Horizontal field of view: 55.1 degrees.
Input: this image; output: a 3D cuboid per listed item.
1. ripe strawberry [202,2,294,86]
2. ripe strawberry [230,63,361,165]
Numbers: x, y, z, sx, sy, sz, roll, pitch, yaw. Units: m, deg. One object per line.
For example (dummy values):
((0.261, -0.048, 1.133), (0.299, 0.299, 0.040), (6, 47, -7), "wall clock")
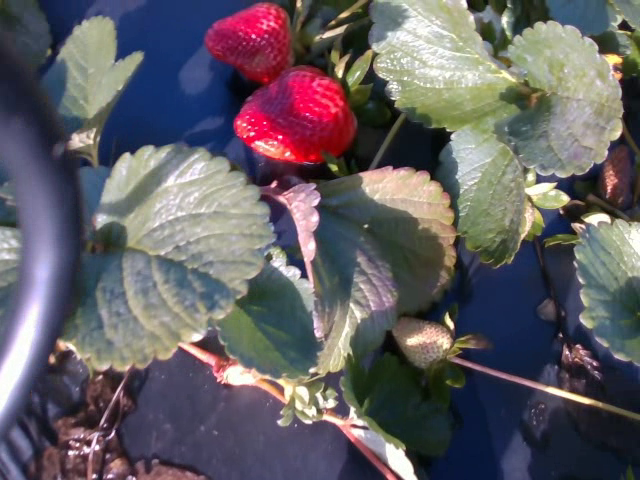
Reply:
((-0.036, -0.097, 0.288), (0.051, 0.037, 0.043), (-29, 33, -31), "ripe strawberry")
((-0.013, -0.053, 0.263), (0.057, 0.046, 0.052), (-22, 37, -28), "ripe strawberry")
